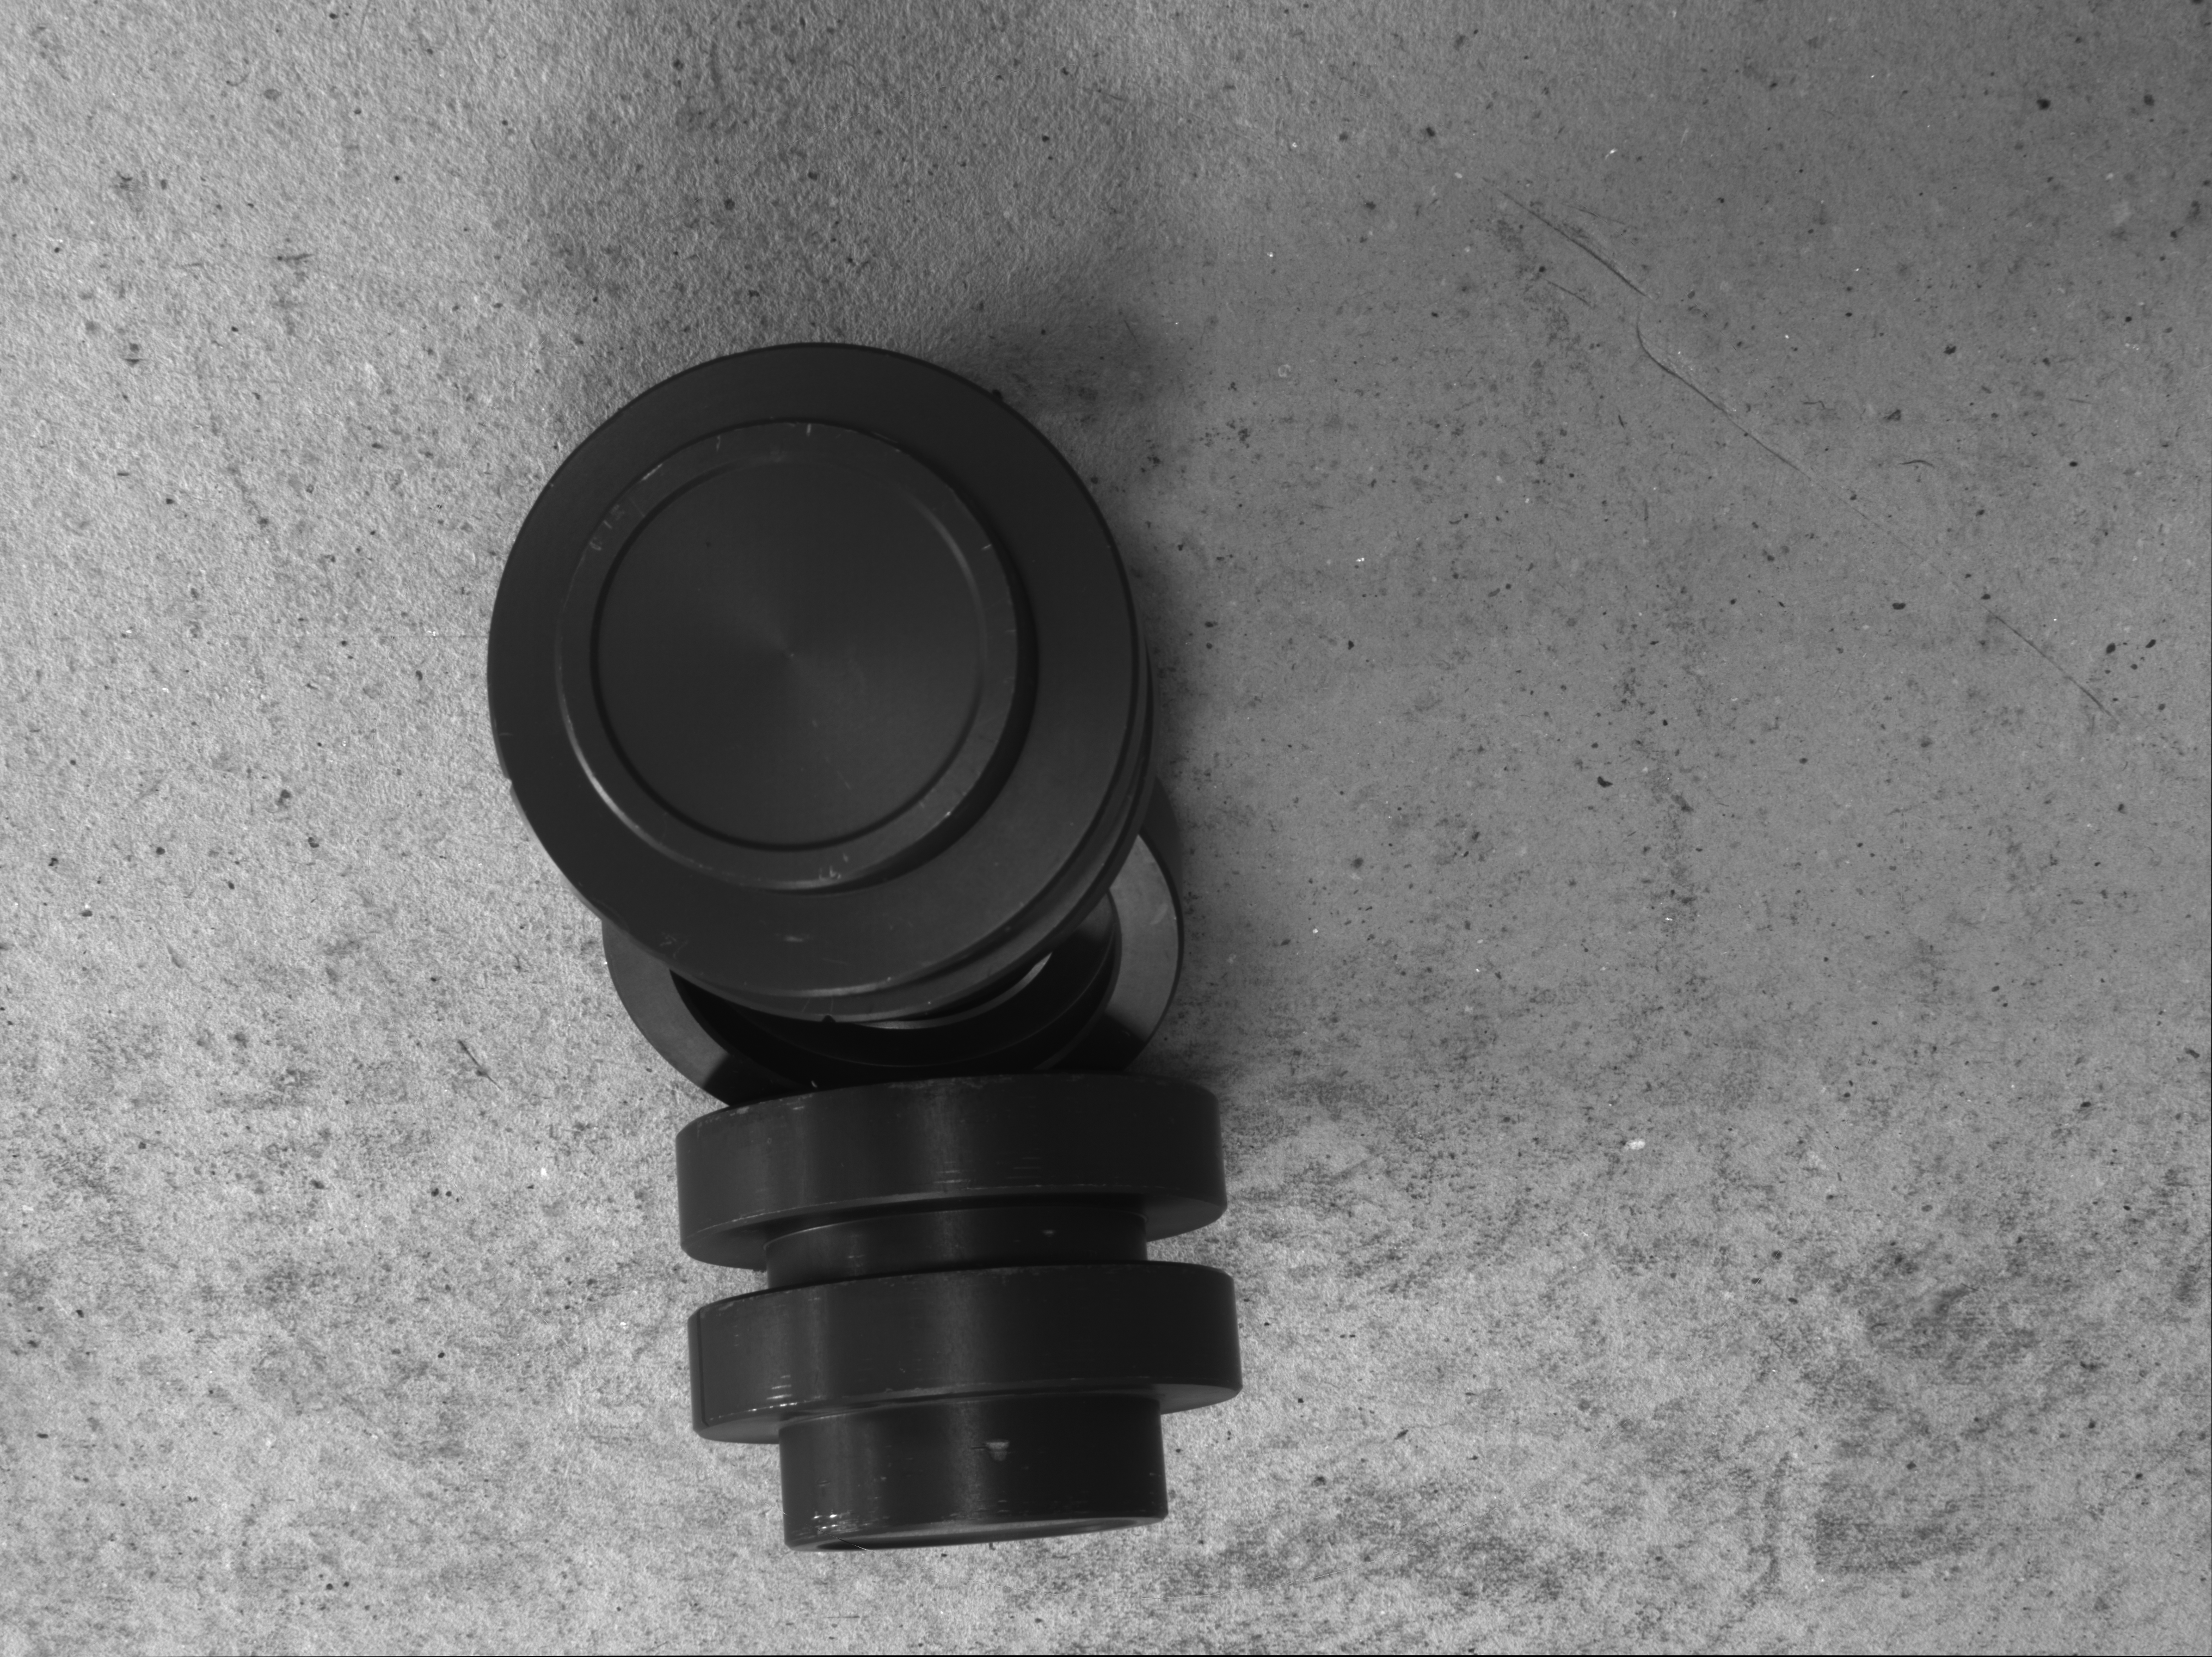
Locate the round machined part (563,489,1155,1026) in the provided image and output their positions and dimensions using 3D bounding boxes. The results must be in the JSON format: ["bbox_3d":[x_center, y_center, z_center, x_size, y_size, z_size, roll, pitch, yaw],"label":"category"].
[{"bbox_3d":[-0.041,-0.018,0.577,0.098,0.042,0.098,0,87,4],"label":"round machined part"}]

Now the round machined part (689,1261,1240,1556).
[{"bbox_3d":[-0.024,0.105,0.653,0.098,0.042,0.098,-4,166,-1],"label":"round machined part"}]

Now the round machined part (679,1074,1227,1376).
[{"bbox_3d":[-0.027,0.074,0.657,0.098,0.042,0.098,-4,166,-1],"label":"round machined part"}]

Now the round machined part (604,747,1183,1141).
[{"bbox_3d":[-0.036,0.006,0.634,0.098,0.042,0.098,0,130,0],"label":"round machined part"}]

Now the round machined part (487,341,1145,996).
[{"bbox_3d":[-0.044,-0.024,0.545,0.098,0.042,0.098,0,87,4],"label":"round machined part"}]
